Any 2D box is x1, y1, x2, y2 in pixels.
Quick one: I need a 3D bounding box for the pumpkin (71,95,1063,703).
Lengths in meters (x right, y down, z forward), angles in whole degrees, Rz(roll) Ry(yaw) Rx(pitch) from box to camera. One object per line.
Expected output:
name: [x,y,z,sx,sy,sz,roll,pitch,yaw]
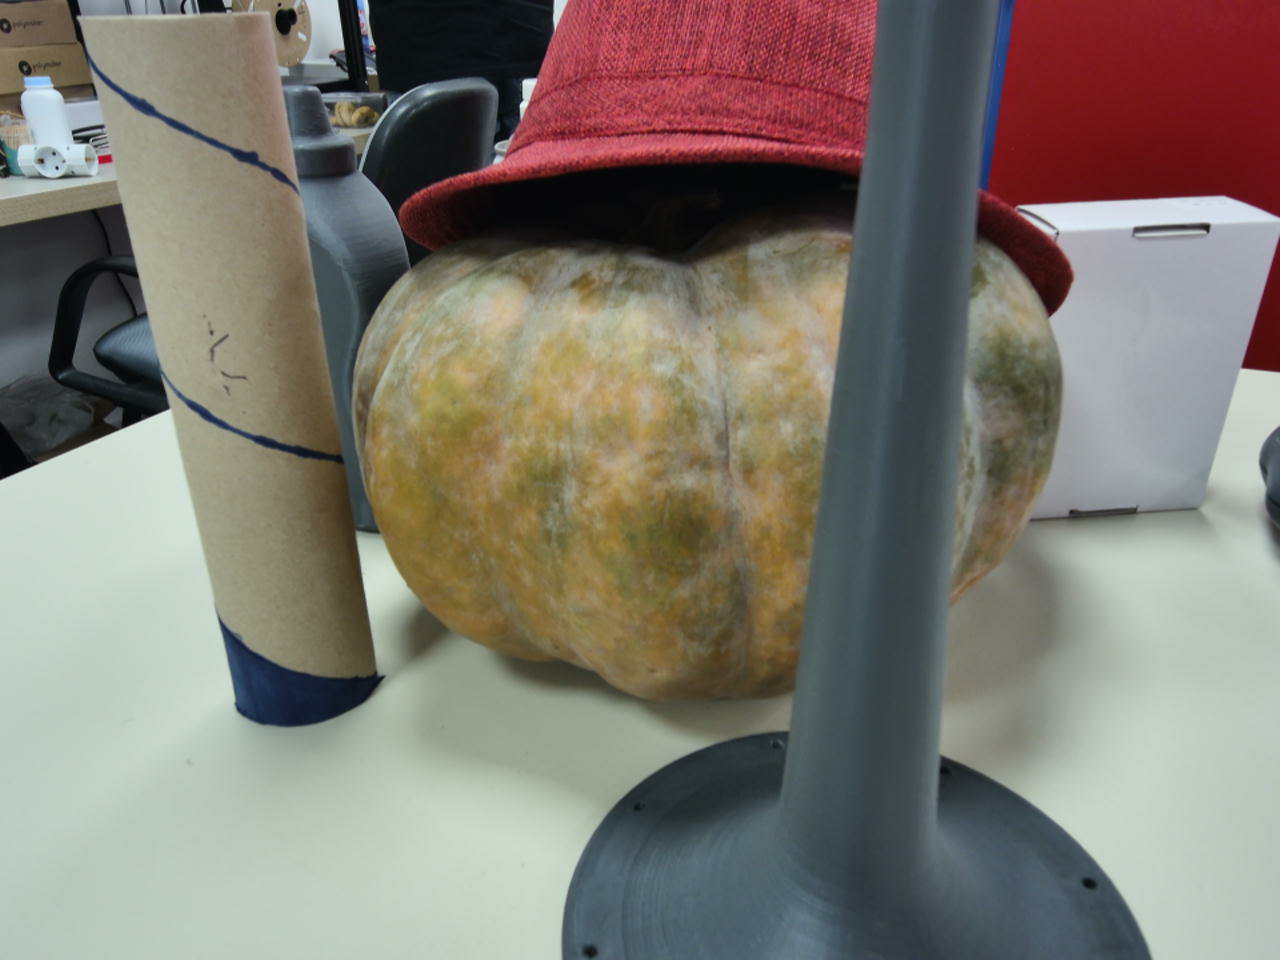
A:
pumpkin: [0.016,-0.025,0.375,0.252,0.169,0.251,0,24,0]
